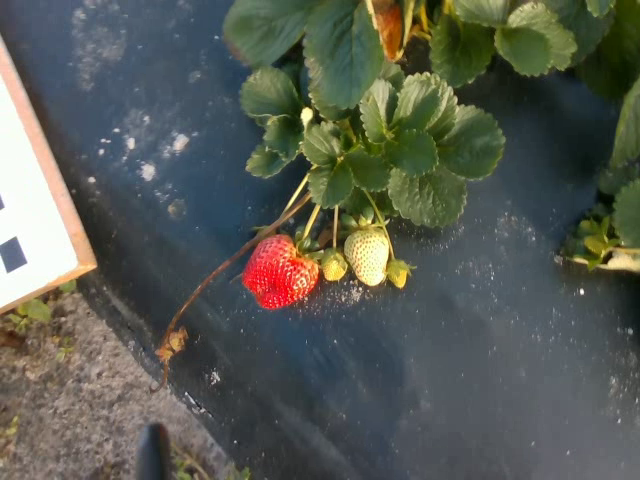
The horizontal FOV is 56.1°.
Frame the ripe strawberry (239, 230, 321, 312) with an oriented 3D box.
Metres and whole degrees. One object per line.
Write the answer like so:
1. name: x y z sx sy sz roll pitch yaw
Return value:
1. ripe strawberry: -0.031 0.024 0.394 0.050 0.048 0.034 -45 -11 8
